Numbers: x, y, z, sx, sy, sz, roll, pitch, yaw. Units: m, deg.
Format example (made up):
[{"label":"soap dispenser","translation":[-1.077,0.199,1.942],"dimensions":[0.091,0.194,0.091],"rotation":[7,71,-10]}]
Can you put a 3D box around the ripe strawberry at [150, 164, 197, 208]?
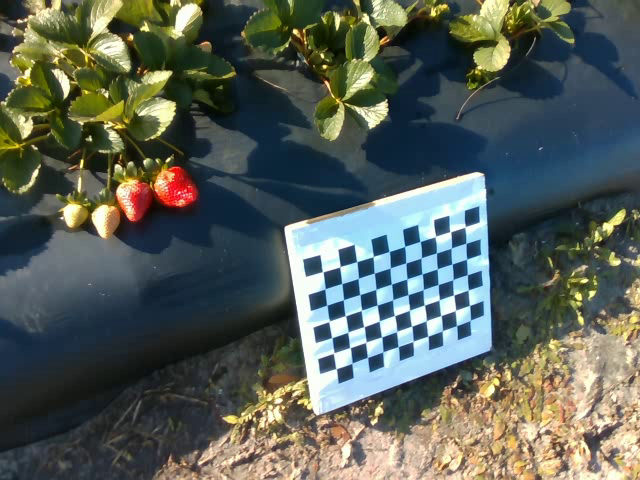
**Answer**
[{"label":"ripe strawberry","translation":[-0.166,-0.060,0.866],"dimensions":[0.067,0.057,0.051],"rotation":[31,5,24]}]

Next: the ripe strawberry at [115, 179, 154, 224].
[{"label":"ripe strawberry","translation":[-0.217,-0.045,0.854],"dimensions":[0.050,0.061,0.043],"rotation":[8,-32,-29]}]
